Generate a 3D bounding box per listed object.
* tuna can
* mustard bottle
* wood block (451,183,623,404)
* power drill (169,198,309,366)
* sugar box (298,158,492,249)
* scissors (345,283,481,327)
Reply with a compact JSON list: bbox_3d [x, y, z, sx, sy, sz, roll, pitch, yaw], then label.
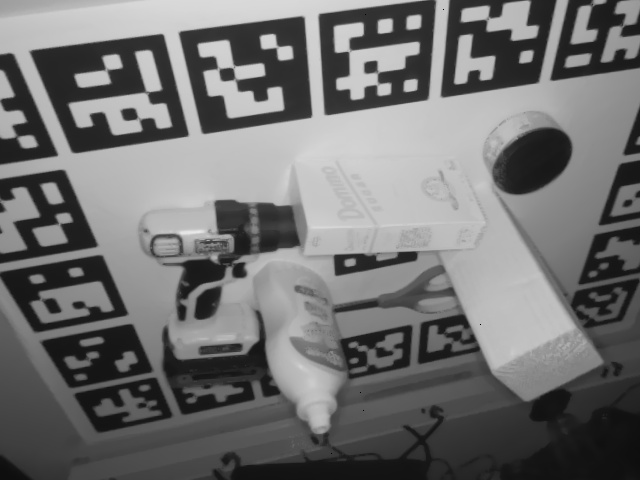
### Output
[{"bbox_3d":[0.231,-0.086,0.704,0.086,0.034,0.085,-7,130,-8],"label":"tuna can"},{"bbox_3d":[-0.004,0.111,0.717,0.058,0.192,0.097,-42,126,20],"label":"mustard bottle"},{"bbox_3d":[0.211,0.049,0.714,0.090,0.207,0.090,-32,128,13],"label":"wood block"},{"bbox_3d":[-0.064,0.043,0.722,0.186,0.057,0.185,0,122,-15],"label":"power drill"},{"bbox_3d":[0.073,-0.036,0.671,0.178,0.093,0.045,0,133,-13],"label":"sugar box"},{"bbox_3d":[0.123,0.083,0.832,0.204,0.016,0.087,-8,135,-8],"label":"scissors"}]
